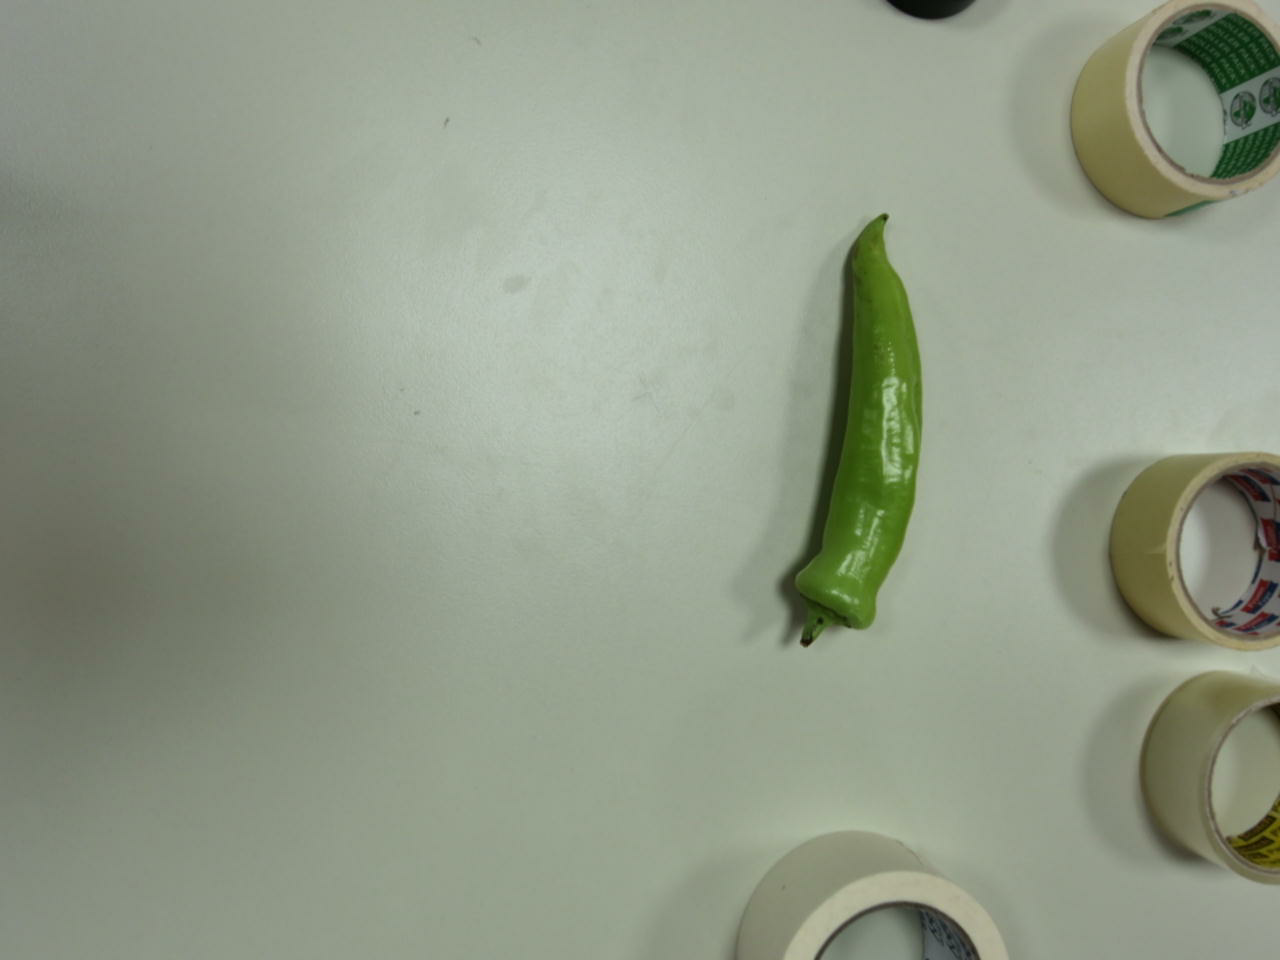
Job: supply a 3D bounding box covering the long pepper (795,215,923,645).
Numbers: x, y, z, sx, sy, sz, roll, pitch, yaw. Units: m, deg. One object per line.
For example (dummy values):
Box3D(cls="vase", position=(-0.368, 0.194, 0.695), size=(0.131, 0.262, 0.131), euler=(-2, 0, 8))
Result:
Box3D(cls="long pepper", position=(0.103, -0.022, 0.439), size=(0.047, 0.038, 0.197), euler=(12, 88, -11))
